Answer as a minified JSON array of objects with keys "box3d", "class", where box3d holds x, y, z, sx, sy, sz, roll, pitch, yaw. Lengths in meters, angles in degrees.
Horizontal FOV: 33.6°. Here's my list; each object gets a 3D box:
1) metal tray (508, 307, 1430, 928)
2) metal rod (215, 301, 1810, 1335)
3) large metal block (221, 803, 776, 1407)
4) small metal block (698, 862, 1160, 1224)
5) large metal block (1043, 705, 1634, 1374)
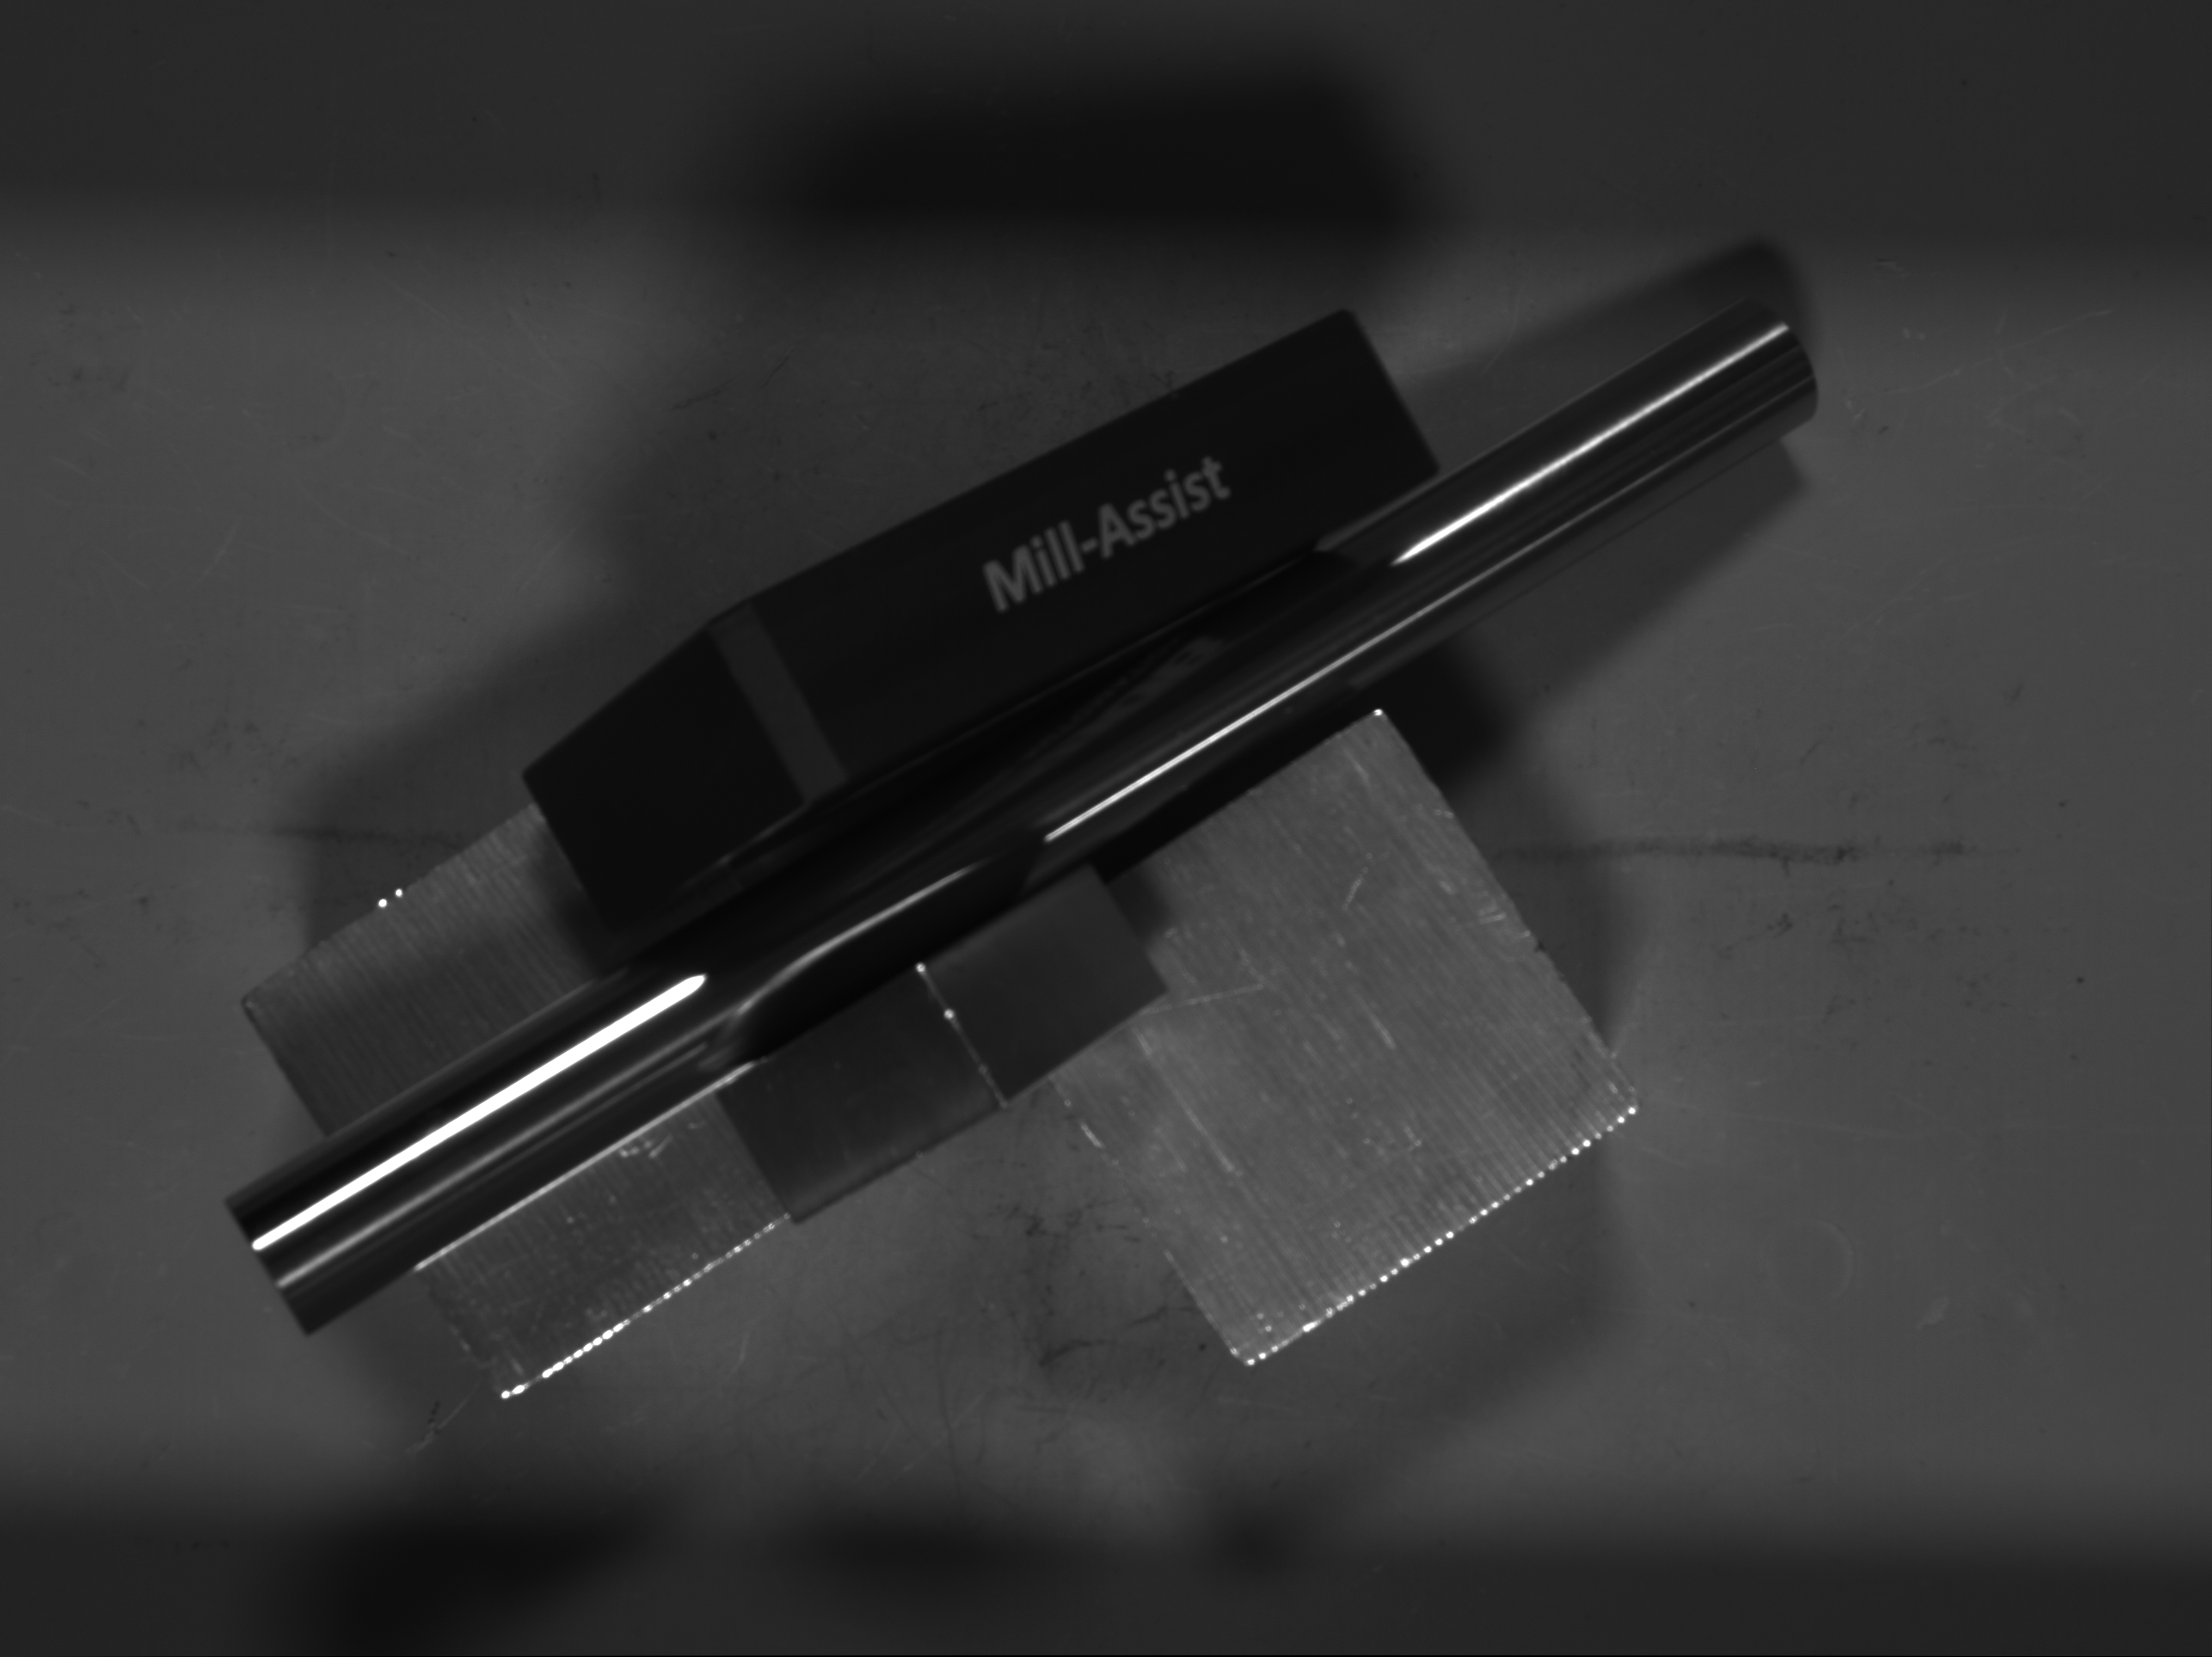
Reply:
[{"box3d":[-0.022,-0.034,0.585,0.130,0.090,0.030,-30,91,-32],"class":"metal tray"},{"box3d":[-0.008,-0.007,0.607,0.300,0.025,0.025,-31,90,-15],"class":"metal rod"},{"box3d":[-0.090,0.040,0.629,0.080,0.050,0.080,-34,90,0],"class":"large metal block"},{"box3d":[-0.028,0.034,0.583,0.050,0.050,0.025,-31,90,36],"class":"small metal block"},{"box3d":[0.032,0.035,0.632,0.080,0.050,0.080,-34,90,0],"class":"large metal block"}]
